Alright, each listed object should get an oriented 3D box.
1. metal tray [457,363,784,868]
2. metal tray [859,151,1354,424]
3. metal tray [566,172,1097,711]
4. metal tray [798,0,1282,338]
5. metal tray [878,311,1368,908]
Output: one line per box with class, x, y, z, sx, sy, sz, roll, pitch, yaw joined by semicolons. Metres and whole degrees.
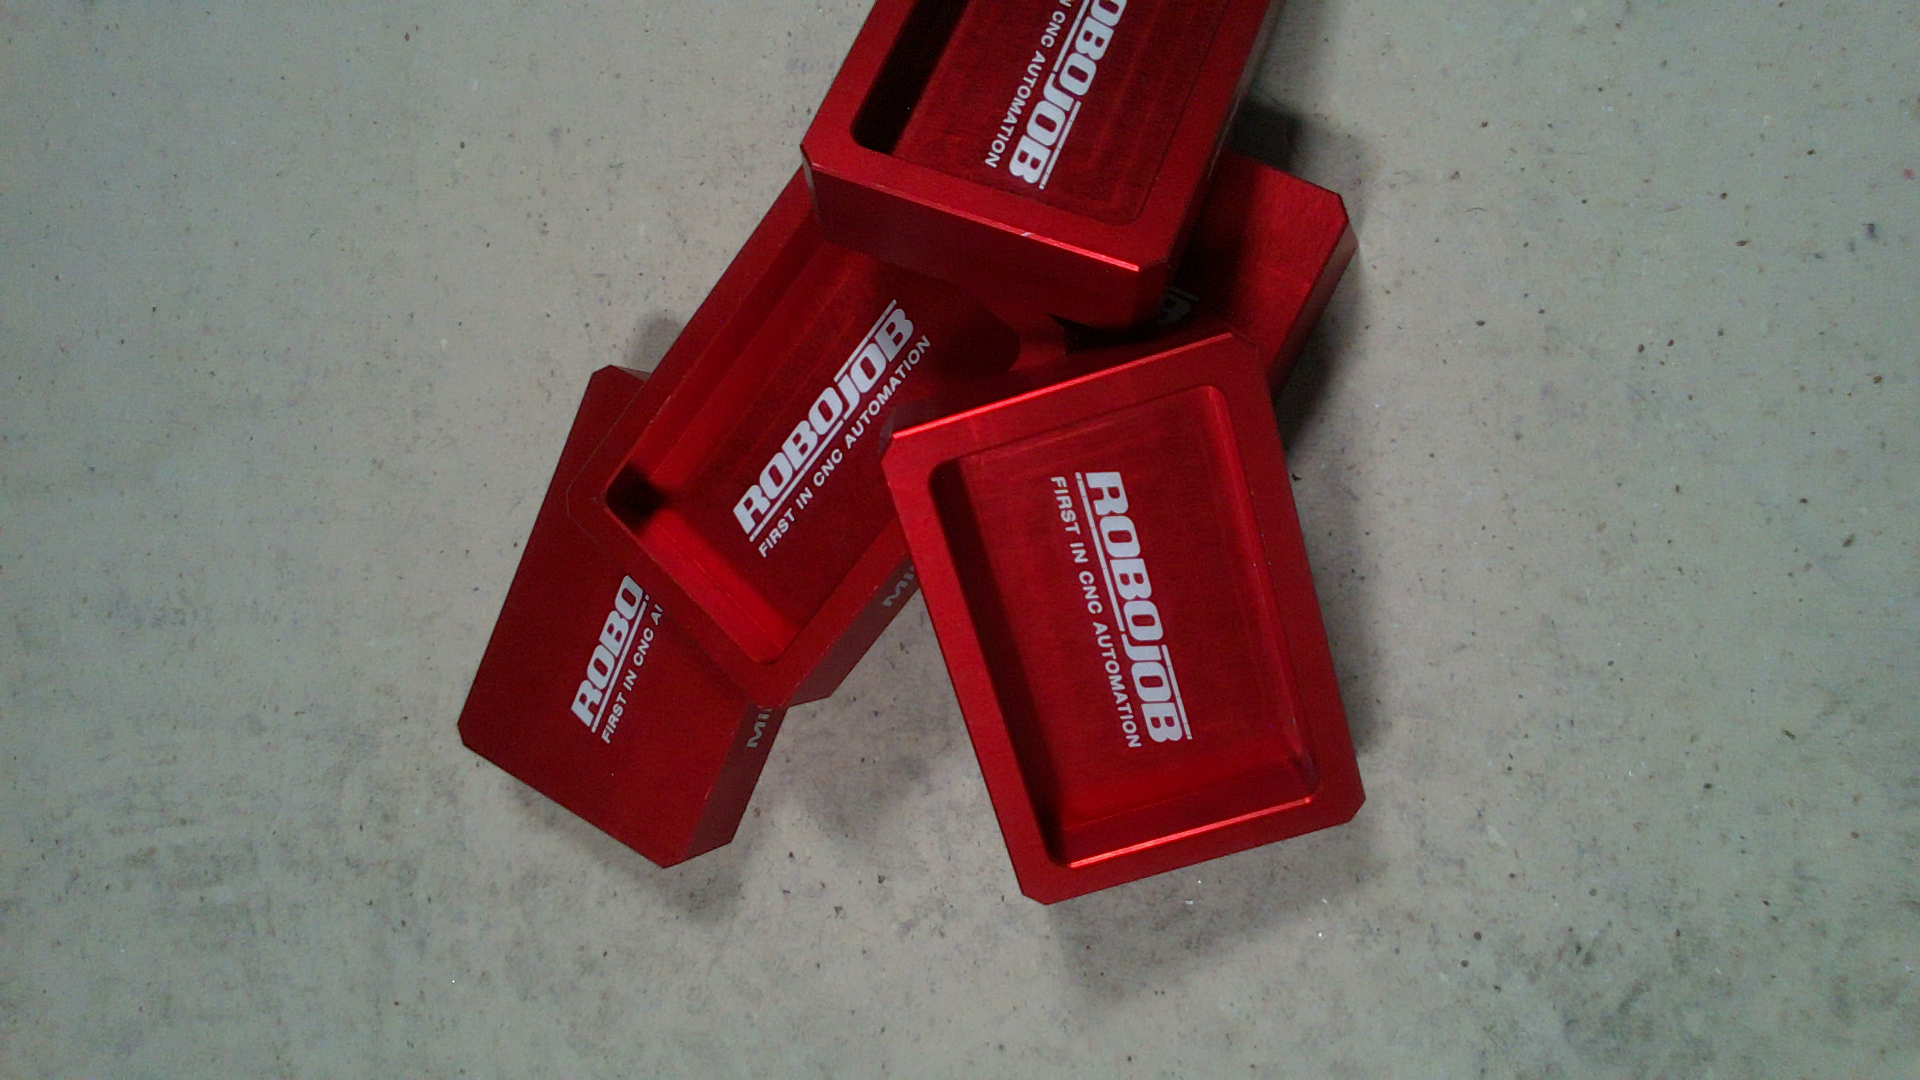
metal tray;-0.093;0.022;0.426;0.090;0.030;0.130;26;99;18
metal tray;0.030;-0.074;0.382;0.130;0.030;0.090;28;99;18
metal tray;-0.037;-0.030;0.375;0.090;0.030;0.130;43;103;15
metal tray;0.027;-0.123;0.347;0.090;0.030;0.130;20;69;9
metal tray;0.041;0.019;0.342;0.090;0.030;0.130;-17;109;3
